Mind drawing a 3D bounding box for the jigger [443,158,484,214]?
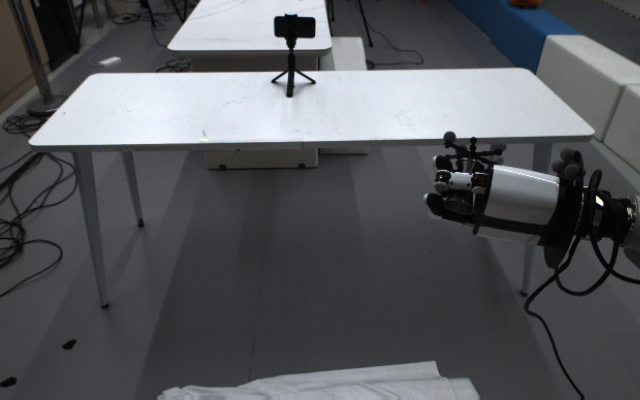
[{"bbox_3d":[0.206,-0.020,0.680,0.043,0.043,0.071,13,69,15],"label":"jigger"}]
